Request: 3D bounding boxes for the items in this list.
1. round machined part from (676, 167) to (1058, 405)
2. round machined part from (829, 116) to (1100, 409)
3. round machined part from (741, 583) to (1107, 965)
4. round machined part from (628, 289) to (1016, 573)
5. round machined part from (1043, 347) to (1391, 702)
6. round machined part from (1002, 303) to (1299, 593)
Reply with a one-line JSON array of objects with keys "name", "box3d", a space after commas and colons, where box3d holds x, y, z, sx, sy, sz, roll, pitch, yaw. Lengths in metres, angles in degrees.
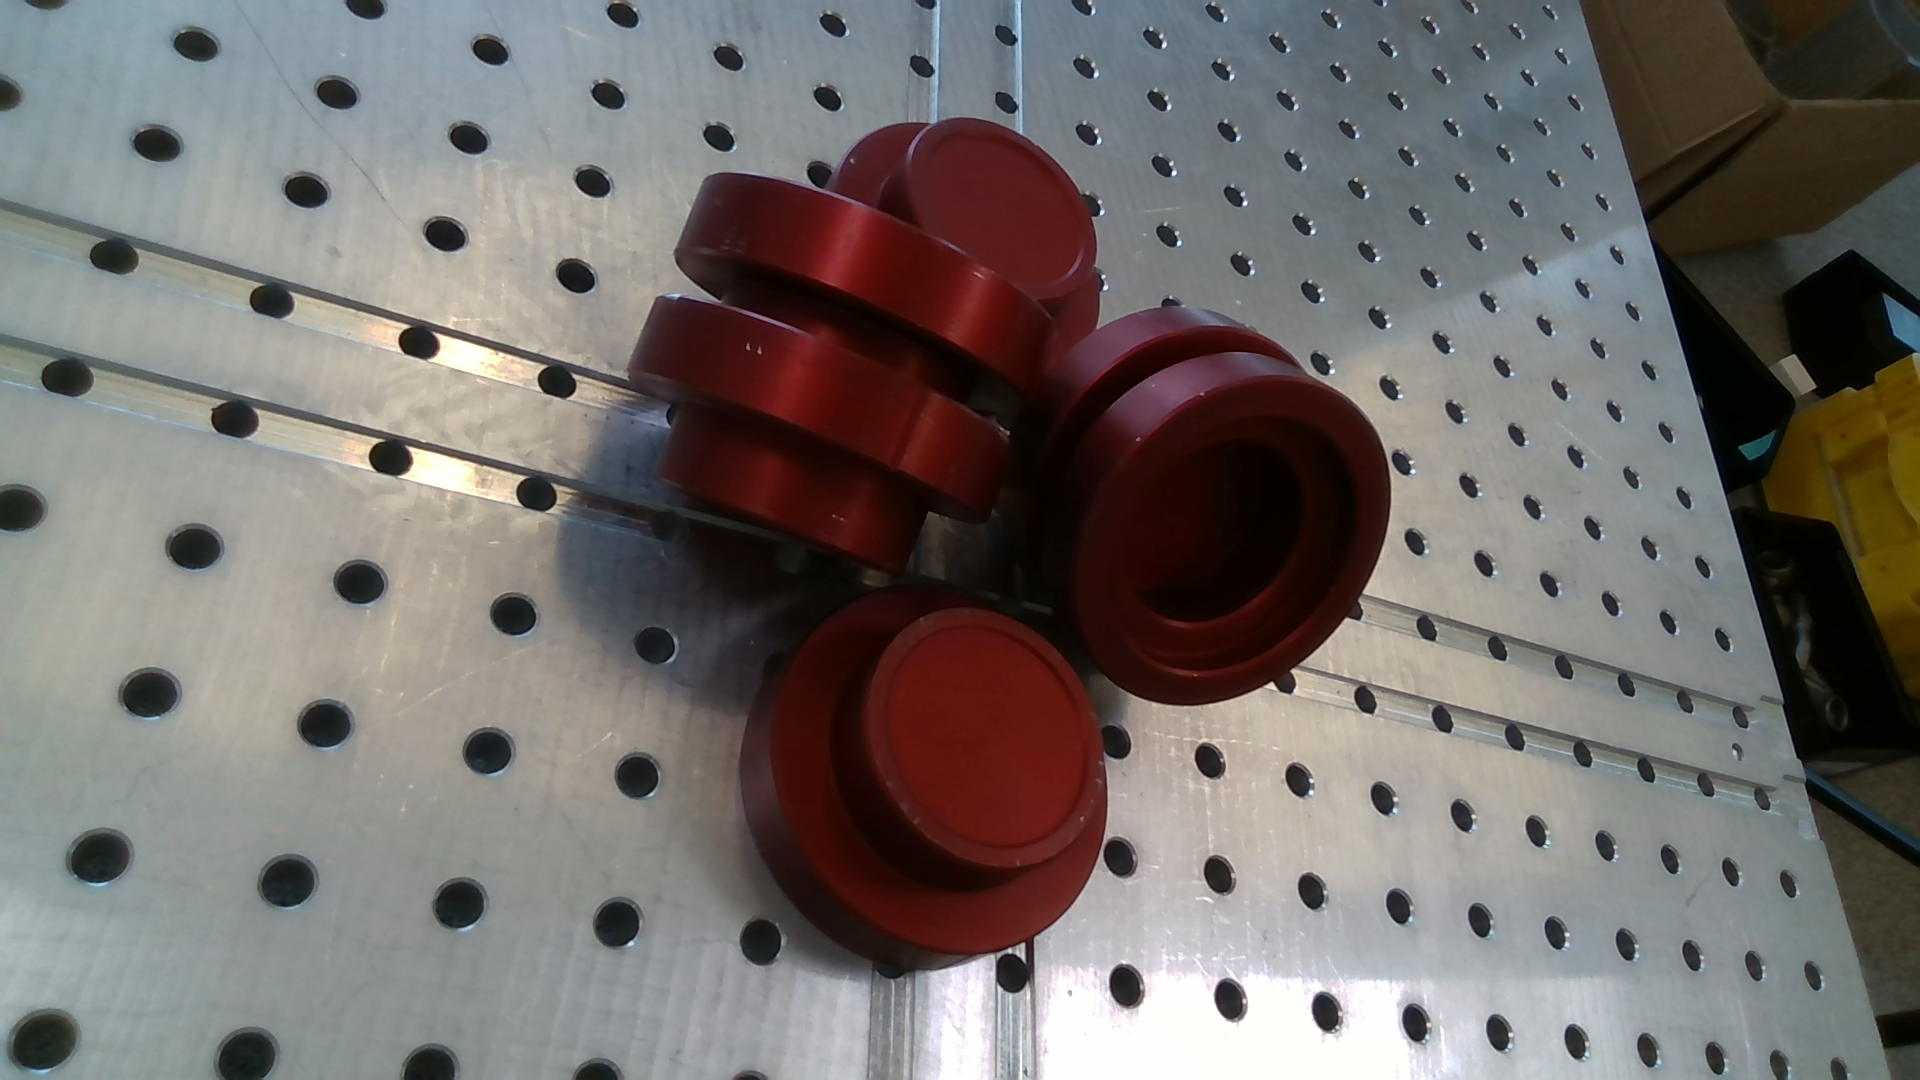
[{"name": "round machined part", "box3d": [-0.028, -0.053, 0.354, 0.098, 0.098, 0.042, 23, 87, -20]}, {"name": "round machined part", "box3d": [0.004, -0.094, 0.437, 0.098, 0.042, 0.098, 14, 59, -25]}, {"name": "round machined part", "box3d": [-0.003, 0.056, 0.354, 0.098, 0.042, 0.098, 14, 59, -25]}, {"name": "round machined part", "box3d": [-0.039, -0.023, 0.349, 0.098, 0.098, 0.042, 24, 87, -19]}, {"name": "round machined part", "box3d": [0.067, -0.007, 0.386, 0.098, 0.098, 0.042, 9, 21, -28]}, {"name": "round machined part", "box3d": [0.056, -0.023, 0.411, 0.098, 0.098, 0.042, 9, 21, -28]}]
